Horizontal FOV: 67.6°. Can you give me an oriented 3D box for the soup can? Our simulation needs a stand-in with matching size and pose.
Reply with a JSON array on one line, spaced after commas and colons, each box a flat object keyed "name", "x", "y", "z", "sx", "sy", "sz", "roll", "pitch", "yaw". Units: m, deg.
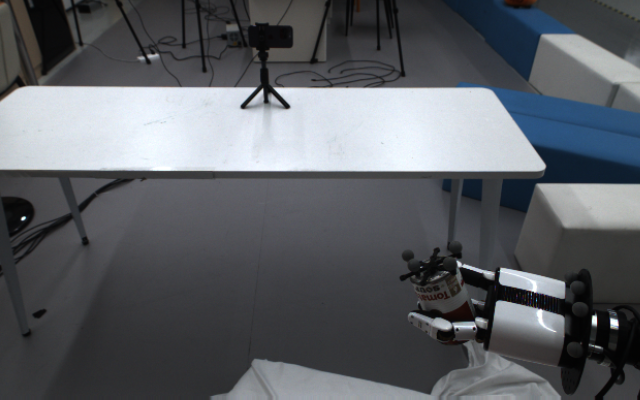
[{"name": "soup can", "x": 0.173, "y": 0.135, "z": 0.661, "sx": 0.067, "sy": 0.101, "sz": 0.067, "roll": -23, "pitch": 16, "yaw": 7}]
